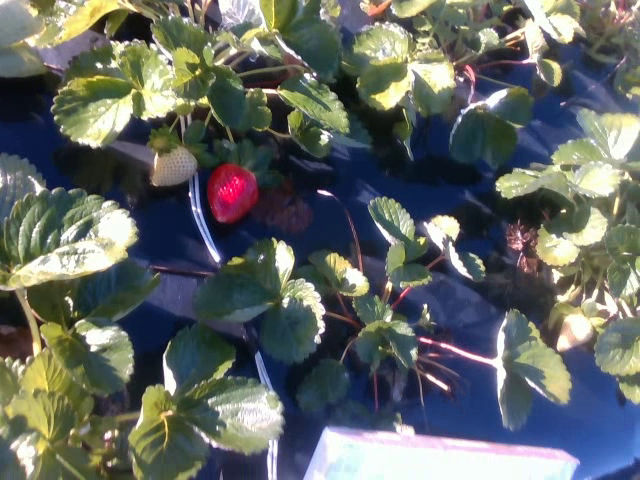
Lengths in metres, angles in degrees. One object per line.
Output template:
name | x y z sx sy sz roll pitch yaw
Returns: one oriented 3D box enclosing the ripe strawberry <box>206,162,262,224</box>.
ripe strawberry | -0.076 -0.044 0.552 0.040 0.080 0.062 -19 -53 30
